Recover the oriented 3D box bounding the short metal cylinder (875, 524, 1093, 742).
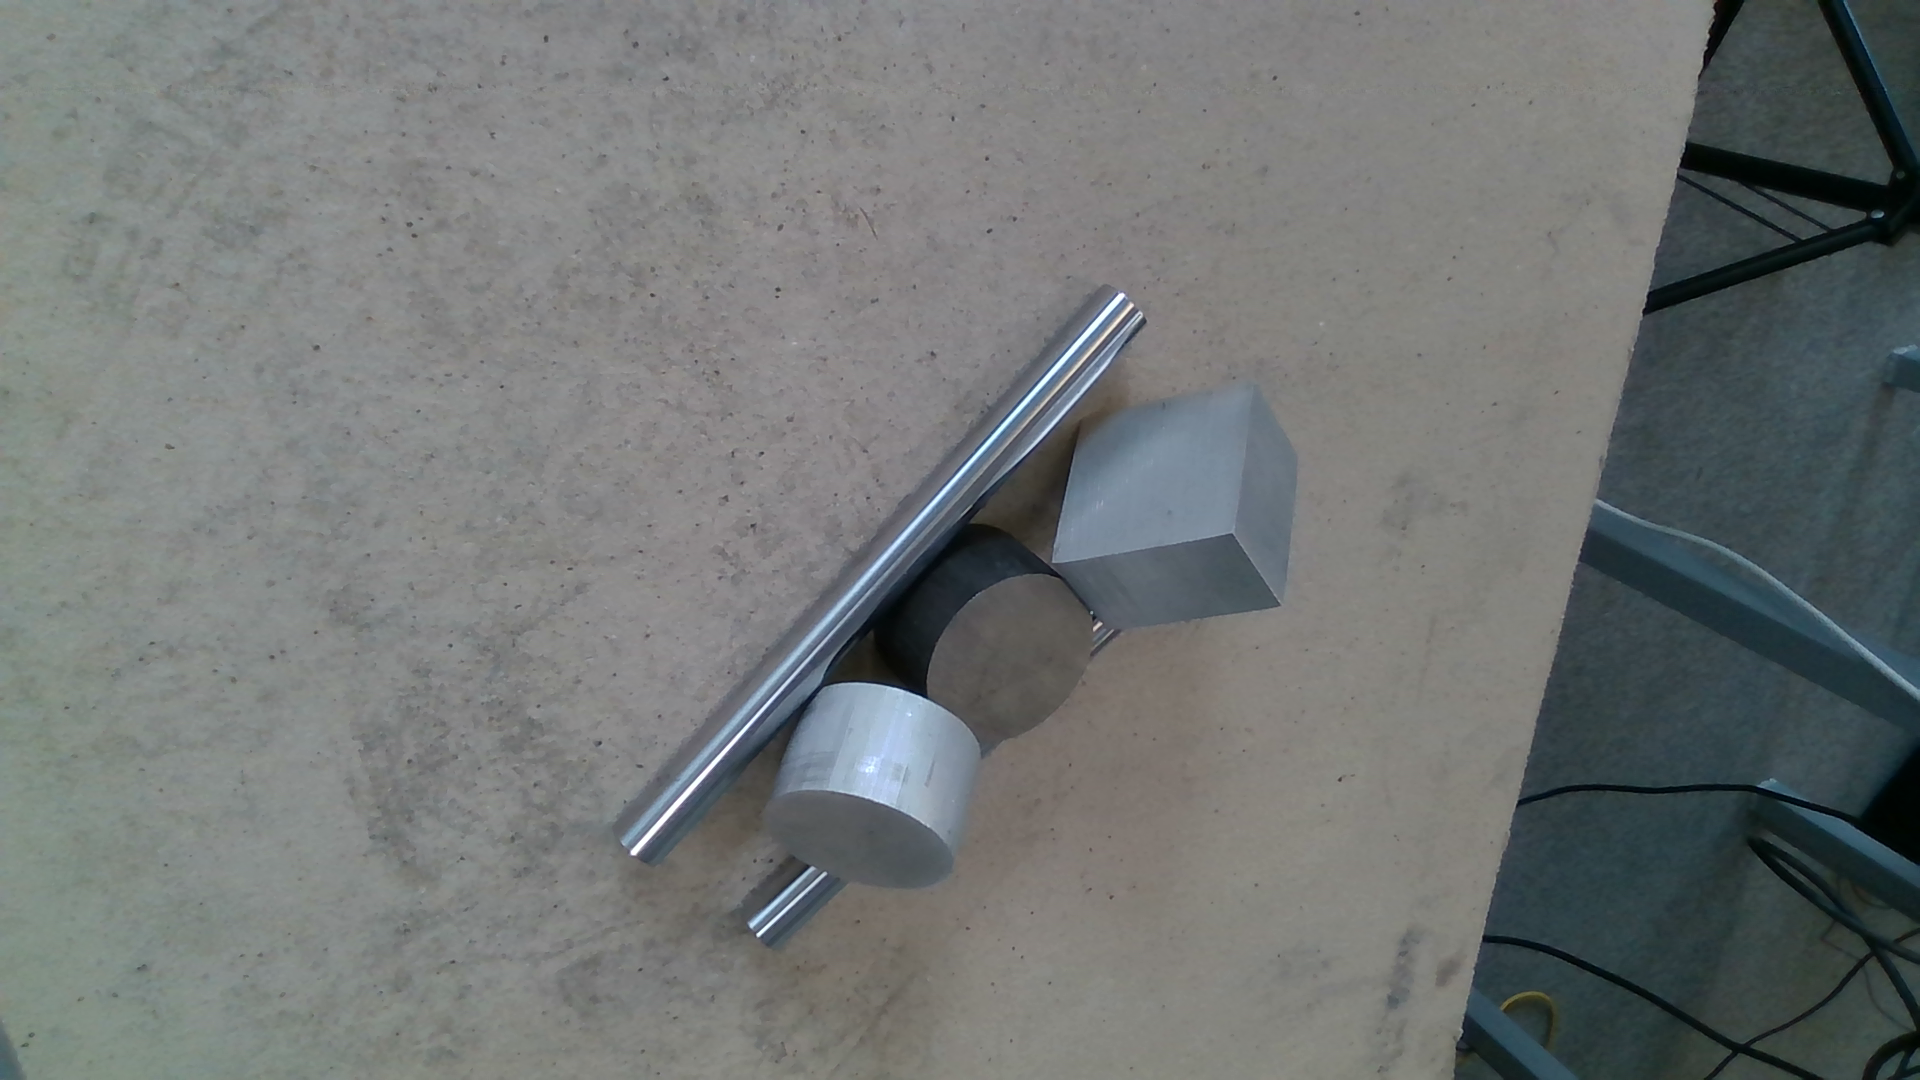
[{"bbox_3d":[0.010,0.039,0.593,0.080,0.050,0.080,-14,122,-25],"label":"short metal cylinder"}]

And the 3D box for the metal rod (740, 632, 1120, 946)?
[{"bbox_3d":[0.021,0.074,0.633,0.300,0.025,0.025,-42,129,-6],"label":"metal rod"}]

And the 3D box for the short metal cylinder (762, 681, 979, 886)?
[{"bbox_3d":[-0.036,0.102,0.571,0.080,0.080,0.050,54,39,-39],"label":"short metal cylinder"}]

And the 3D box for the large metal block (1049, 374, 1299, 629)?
[{"bbox_3d":[0.091,-0.015,0.574,0.050,0.080,0.080,48,44,-39],"label":"large metal block"}]

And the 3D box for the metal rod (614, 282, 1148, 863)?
[{"bbox_3d":[-0.032,0.013,0.568,0.300,0.025,0.025,-48,129,-1],"label":"metal rod"}]
